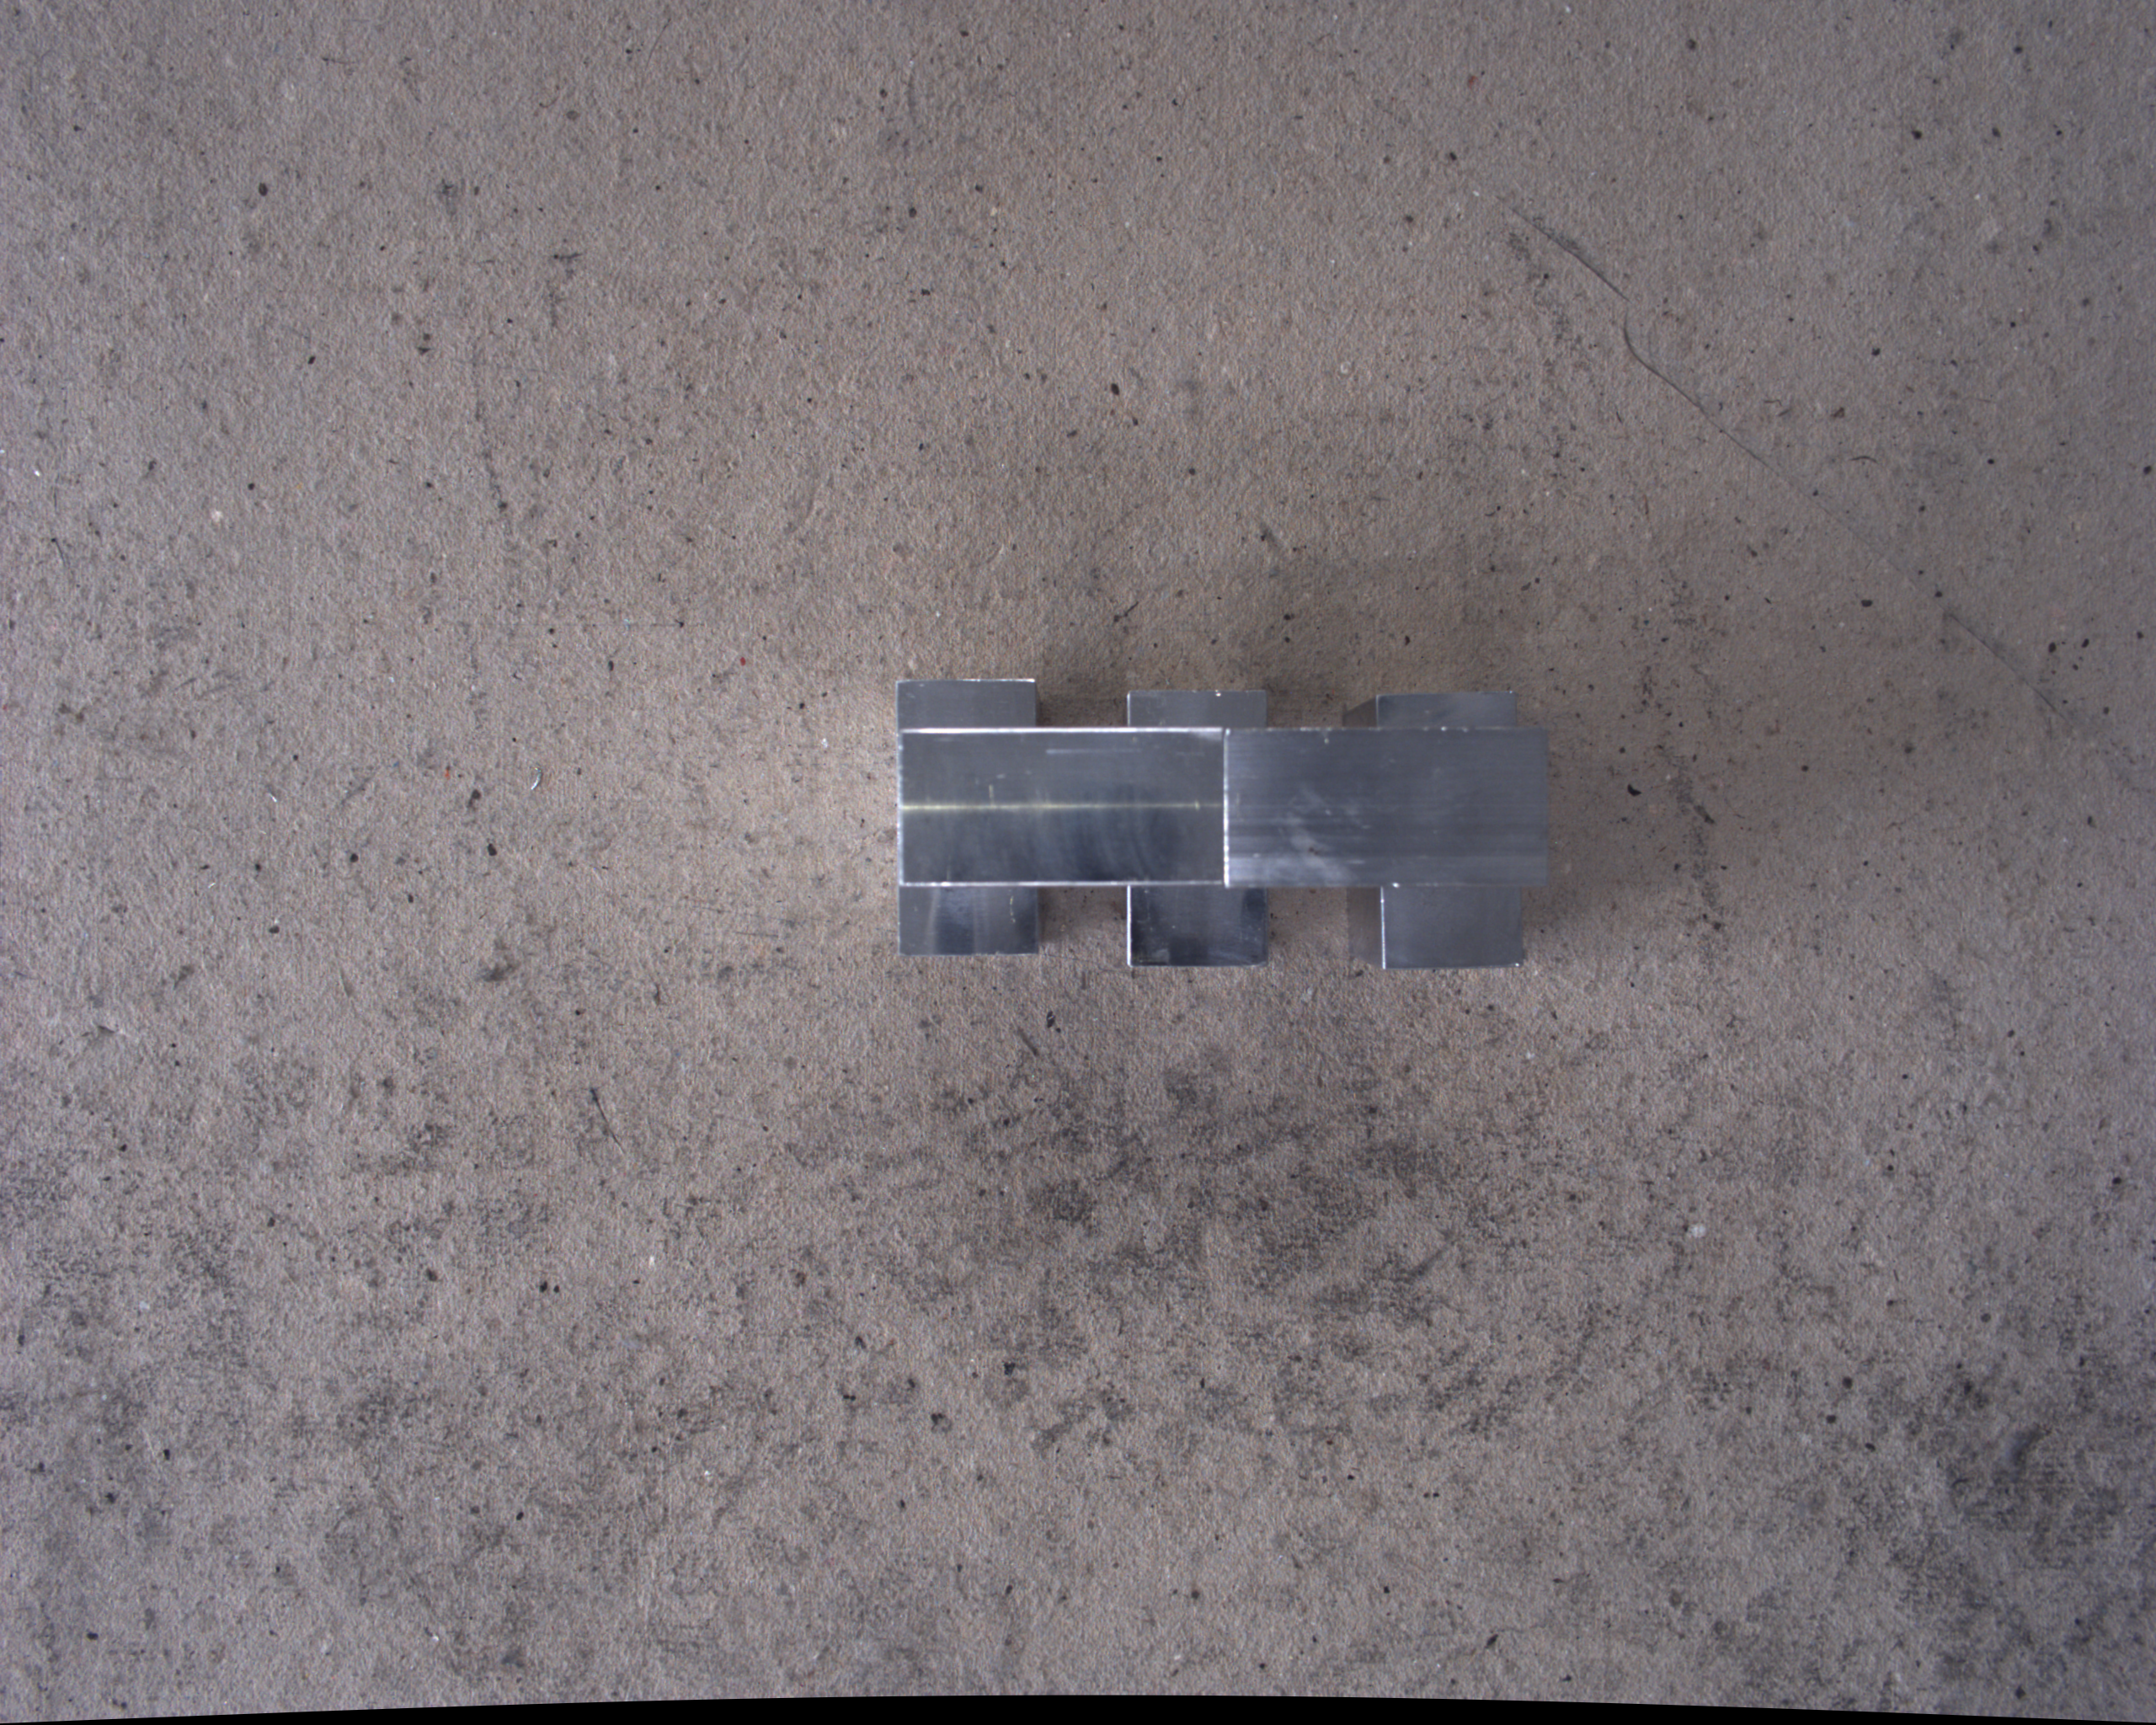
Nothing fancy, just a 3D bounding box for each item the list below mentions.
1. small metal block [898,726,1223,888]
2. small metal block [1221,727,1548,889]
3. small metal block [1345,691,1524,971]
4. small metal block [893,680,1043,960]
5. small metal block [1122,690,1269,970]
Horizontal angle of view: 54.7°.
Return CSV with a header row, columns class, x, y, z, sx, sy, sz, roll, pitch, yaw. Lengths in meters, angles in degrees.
class,x,y,z,sx,sy,sz,roll,pitch,yaw
small metal block,-0.003,-0.009,0.349,0.050,0.050,0.025,0,90,0
small metal block,0.048,-0.009,0.349,0.050,0.050,0.025,0,90,0
small metal block,0.067,-0.006,0.399,0.025,0.050,0.050,-1,90,1
small metal block,-0.020,-0.008,0.398,0.025,0.050,0.050,-1,90,1
small metal block,0.021,-0.006,0.399,0.025,0.050,0.050,-1,90,1
